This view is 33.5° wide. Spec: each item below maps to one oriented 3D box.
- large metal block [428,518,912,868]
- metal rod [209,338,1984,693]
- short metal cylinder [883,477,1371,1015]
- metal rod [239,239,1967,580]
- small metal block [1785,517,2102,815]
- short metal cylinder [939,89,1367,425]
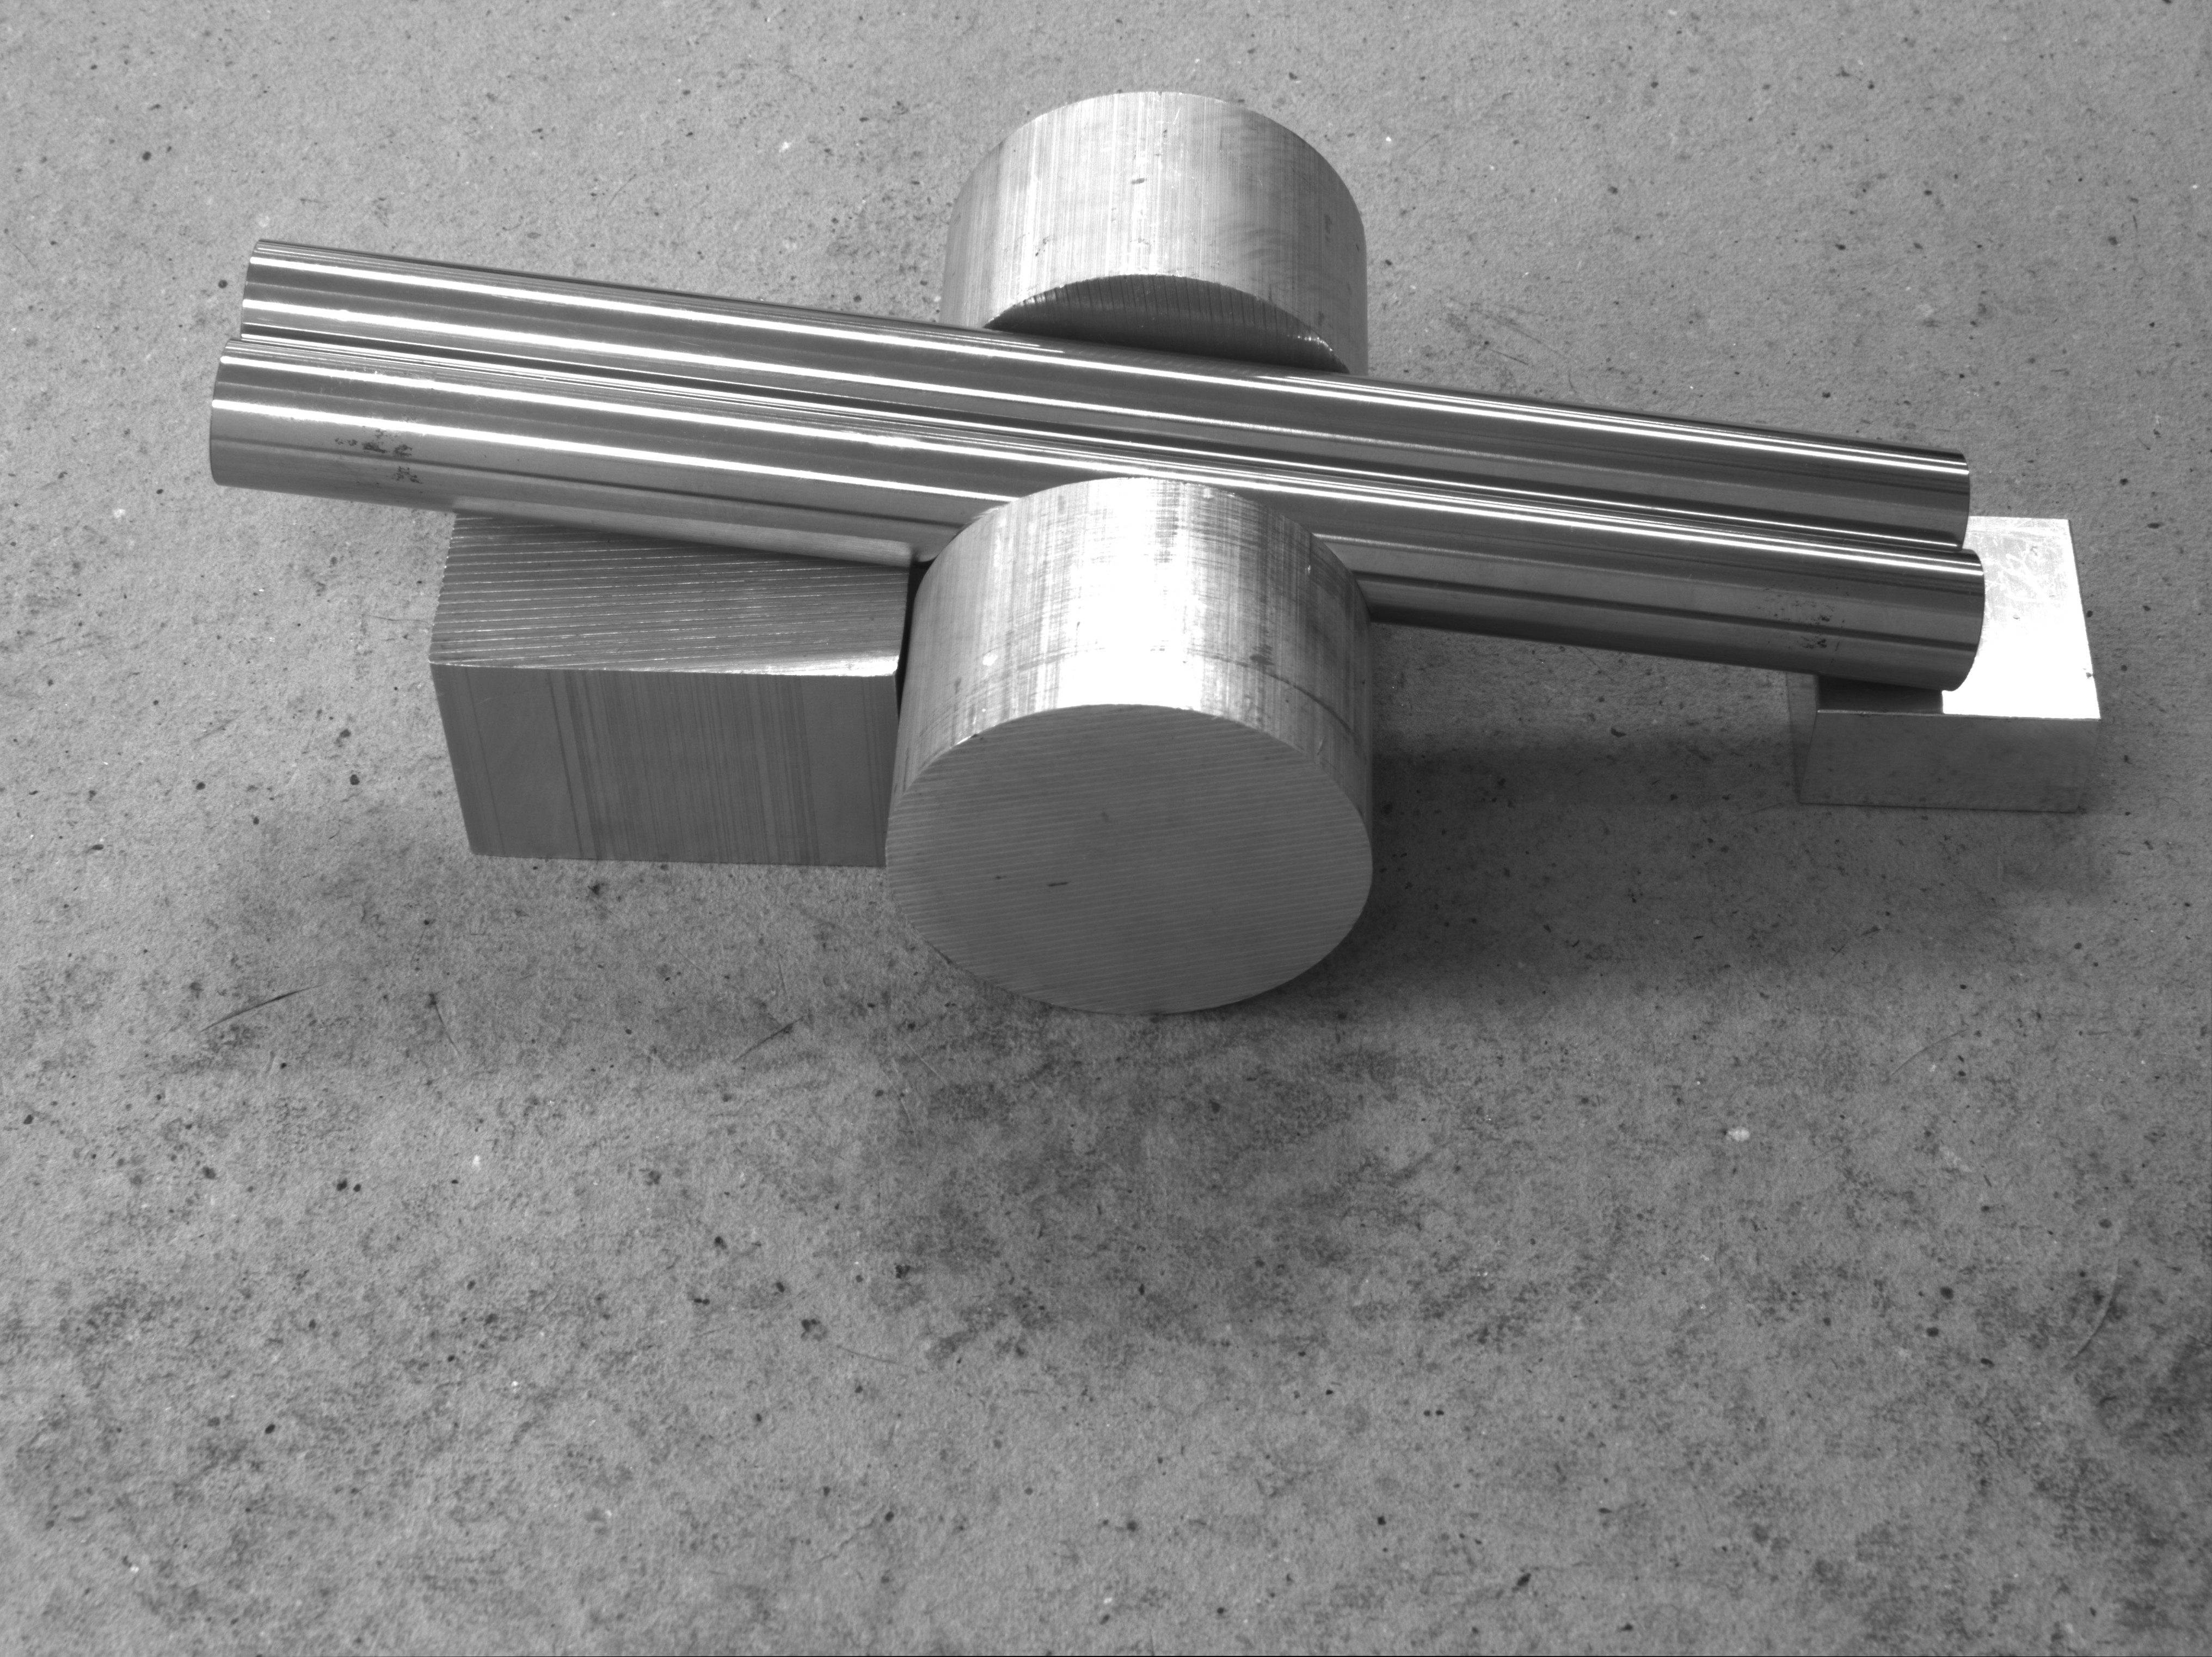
[{"bbox_3d":[-0.072,-0.040,0.661,0.080,0.050,0.080,1,50,1],"label":"large metal block"},{"bbox_3d":[0.001,-0.053,0.629,0.300,0.025,0.025,6,50,-5],"label":"metal rod"},{"bbox_3d":[0.004,-0.013,0.618,0.080,0.080,0.050,1,50,1],"label":"short metal cylinder"},{"bbox_3d":[0.001,-0.072,0.645,0.300,0.025,0.025,6,50,-5],"label":"metal rod"},{"bbox_3d":[0.151,-0.030,0.669,0.050,0.025,0.050,2,50,2],"label":"small metal block"},{"bbox_3d":[0.009,-0.090,0.683,0.080,0.080,0.050,1,50,1],"label":"short metal cylinder"}]
